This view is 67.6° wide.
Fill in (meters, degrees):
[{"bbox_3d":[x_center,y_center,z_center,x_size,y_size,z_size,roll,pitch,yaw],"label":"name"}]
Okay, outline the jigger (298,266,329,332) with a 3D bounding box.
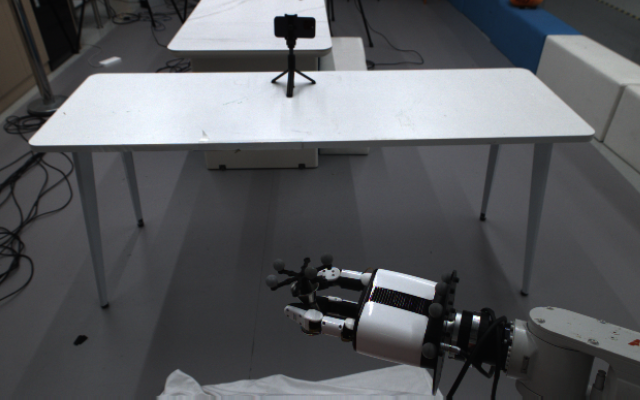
[{"bbox_3d":[-0.013,0.148,0.679,0.043,0.071,0.043,-12,24,5],"label":"jigger"}]
